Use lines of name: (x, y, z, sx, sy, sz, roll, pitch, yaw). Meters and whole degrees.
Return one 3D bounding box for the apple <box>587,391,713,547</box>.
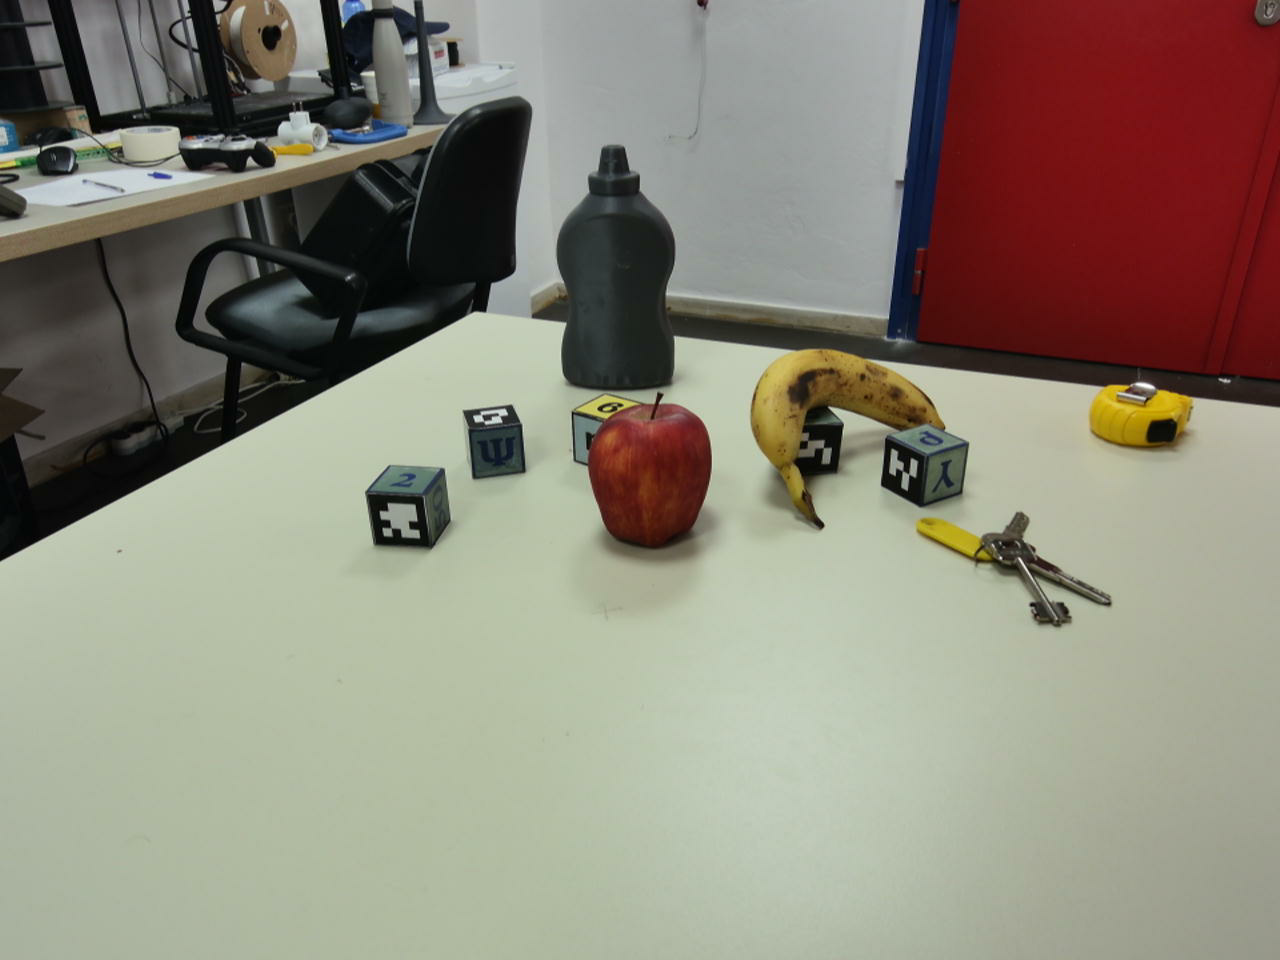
apple: (0.006, -0.011, 0.605, 0.083, 0.090, 0.083, -1, 26, 0)
